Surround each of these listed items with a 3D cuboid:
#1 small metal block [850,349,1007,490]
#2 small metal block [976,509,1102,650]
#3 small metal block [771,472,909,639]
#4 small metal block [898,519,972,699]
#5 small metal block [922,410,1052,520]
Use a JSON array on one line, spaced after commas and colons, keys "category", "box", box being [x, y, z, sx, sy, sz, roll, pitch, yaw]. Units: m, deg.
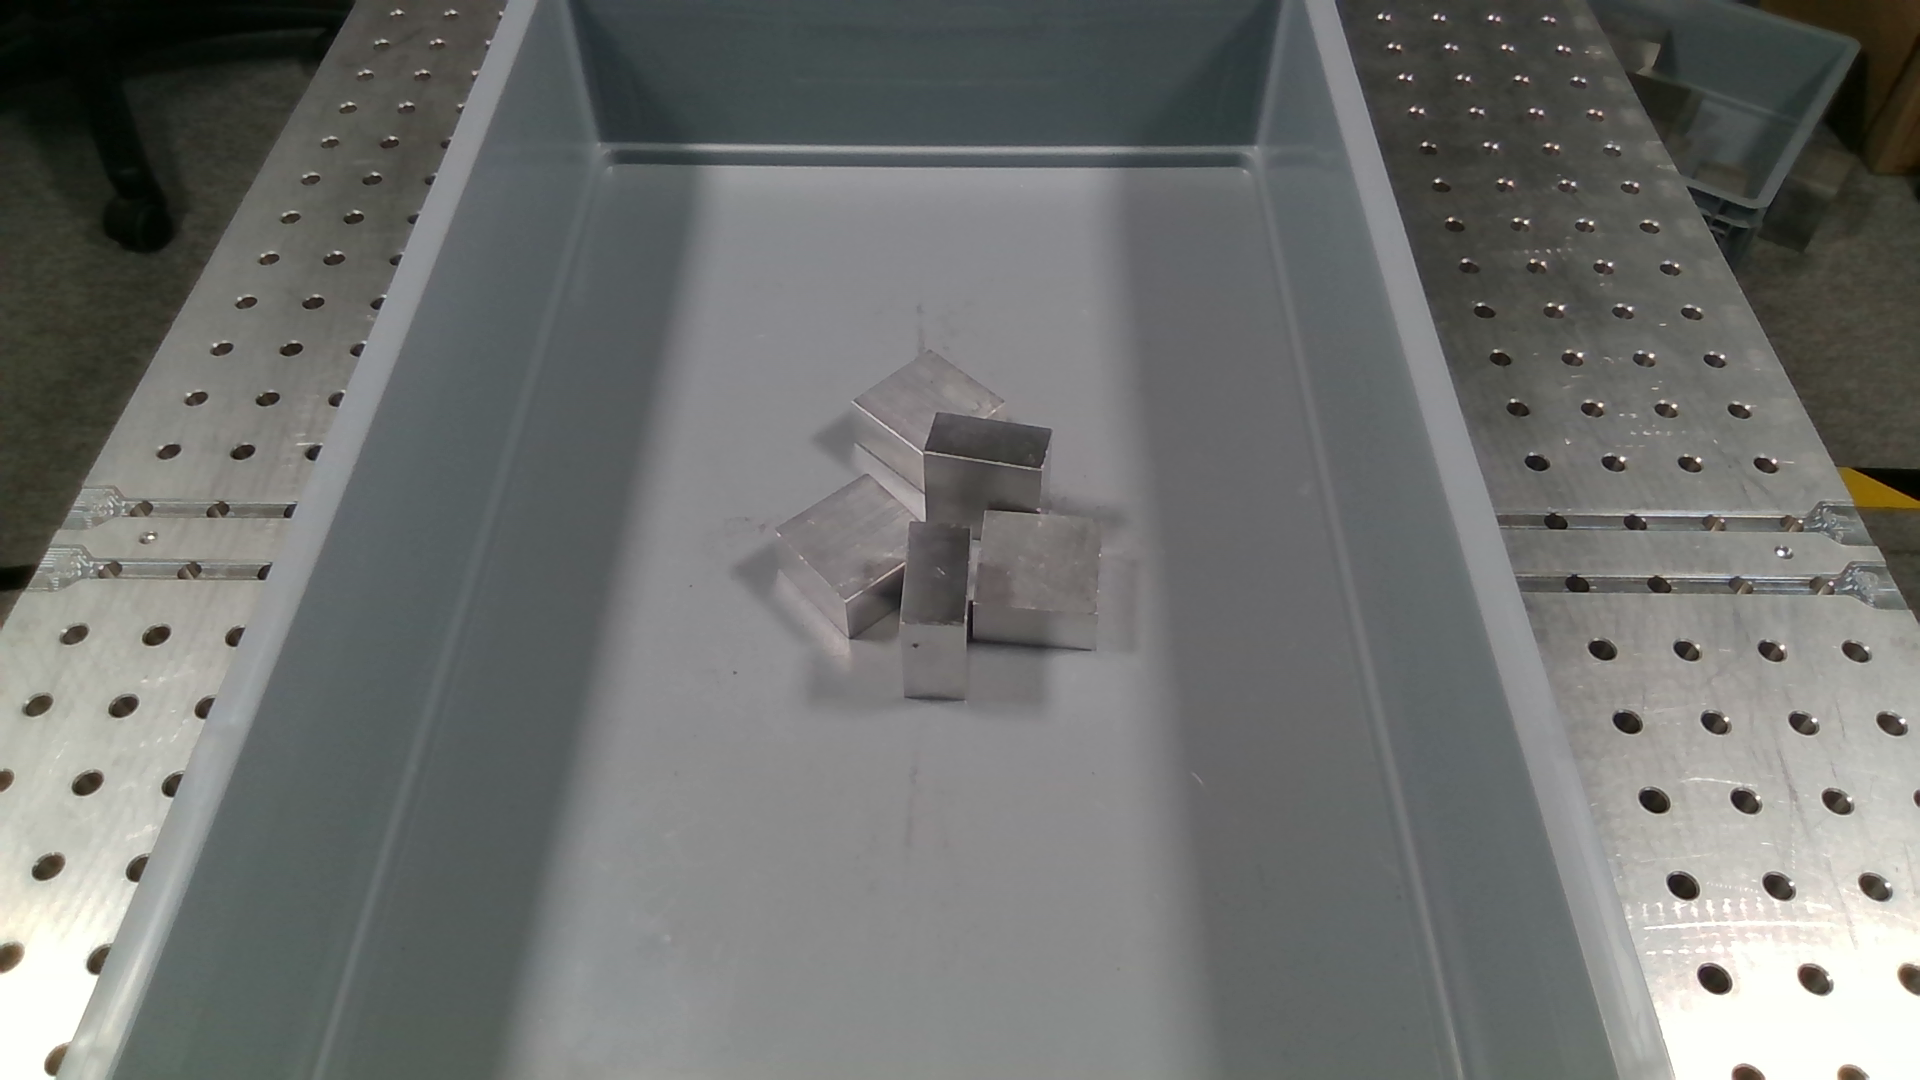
[{"category": "small metal block", "box": [-0.014, -0.054, 0.631, 0.050, 0.025, 0.050, 37, 59, 27]}, {"category": "small metal block", "box": [0.032, 0.016, 0.572, 0.050, 0.025, 0.050, 5, 50, 4]}, {"category": "small metal block", "box": [-0.043, 0.006, 0.580, 0.050, 0.025, 0.050, -34, 58, -25]}, {"category": "small metal block", "box": [-0.009, 0.028, 0.545, 0.025, 0.050, 0.050, 2, 50, 2]}, {"category": "small metal block", "box": [0.011, -0.025, 0.590, 0.050, 0.050, 0.025, 10, 51, 8]}]
